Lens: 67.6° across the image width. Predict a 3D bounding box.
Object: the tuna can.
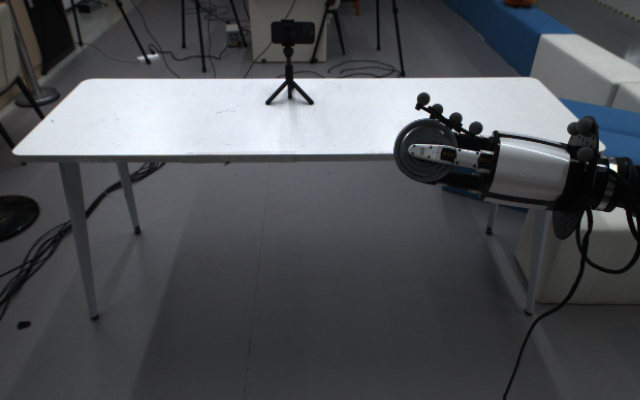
[{"bbox_3d":[0.145,-0.068,0.658,0.085,0.085,0.034,13,4,15],"label":"tuna can"}]
